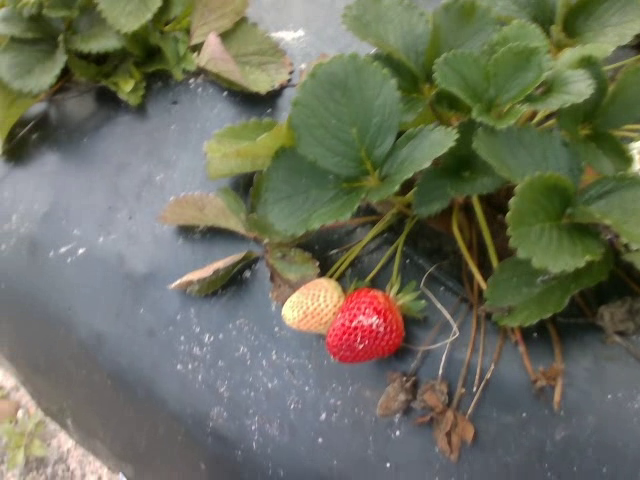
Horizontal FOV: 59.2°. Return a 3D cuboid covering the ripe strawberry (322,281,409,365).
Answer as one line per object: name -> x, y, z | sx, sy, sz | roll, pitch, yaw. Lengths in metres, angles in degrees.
ripe strawberry -> 0.018, 0.040, 0.242 | 0.041, 0.034, 0.033 | -26, -16, -28
